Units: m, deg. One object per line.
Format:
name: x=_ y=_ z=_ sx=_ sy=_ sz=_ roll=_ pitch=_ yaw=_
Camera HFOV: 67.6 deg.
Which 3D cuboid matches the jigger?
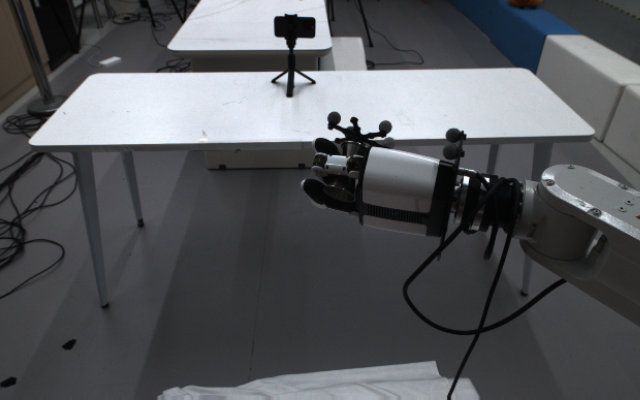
jigger: x=0.038 y=-0.037 z=0.620 sx=0.043 sy=0.043 sz=0.071 roll=13 pitch=70 yaw=16
